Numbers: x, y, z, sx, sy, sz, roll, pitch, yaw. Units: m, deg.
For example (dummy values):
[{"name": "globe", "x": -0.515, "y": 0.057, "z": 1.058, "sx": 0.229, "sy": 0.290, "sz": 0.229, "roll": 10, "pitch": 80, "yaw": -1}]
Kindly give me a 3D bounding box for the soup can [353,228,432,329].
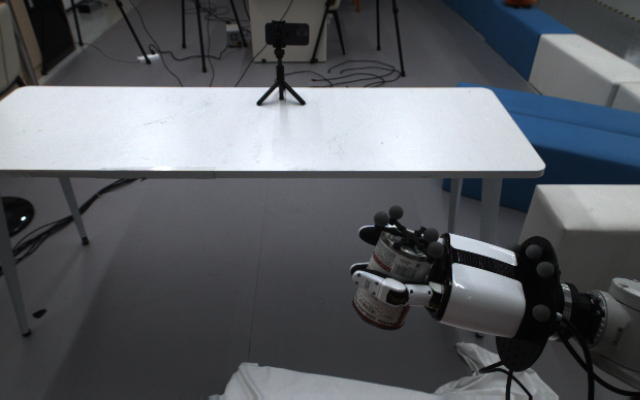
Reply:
[{"name": "soup can", "x": 0.088, "y": 0.092, "z": 0.572, "sx": 0.067, "sy": 0.101, "sz": 0.067, "roll": 17, "pitch": 21, "yaw": -7}]
